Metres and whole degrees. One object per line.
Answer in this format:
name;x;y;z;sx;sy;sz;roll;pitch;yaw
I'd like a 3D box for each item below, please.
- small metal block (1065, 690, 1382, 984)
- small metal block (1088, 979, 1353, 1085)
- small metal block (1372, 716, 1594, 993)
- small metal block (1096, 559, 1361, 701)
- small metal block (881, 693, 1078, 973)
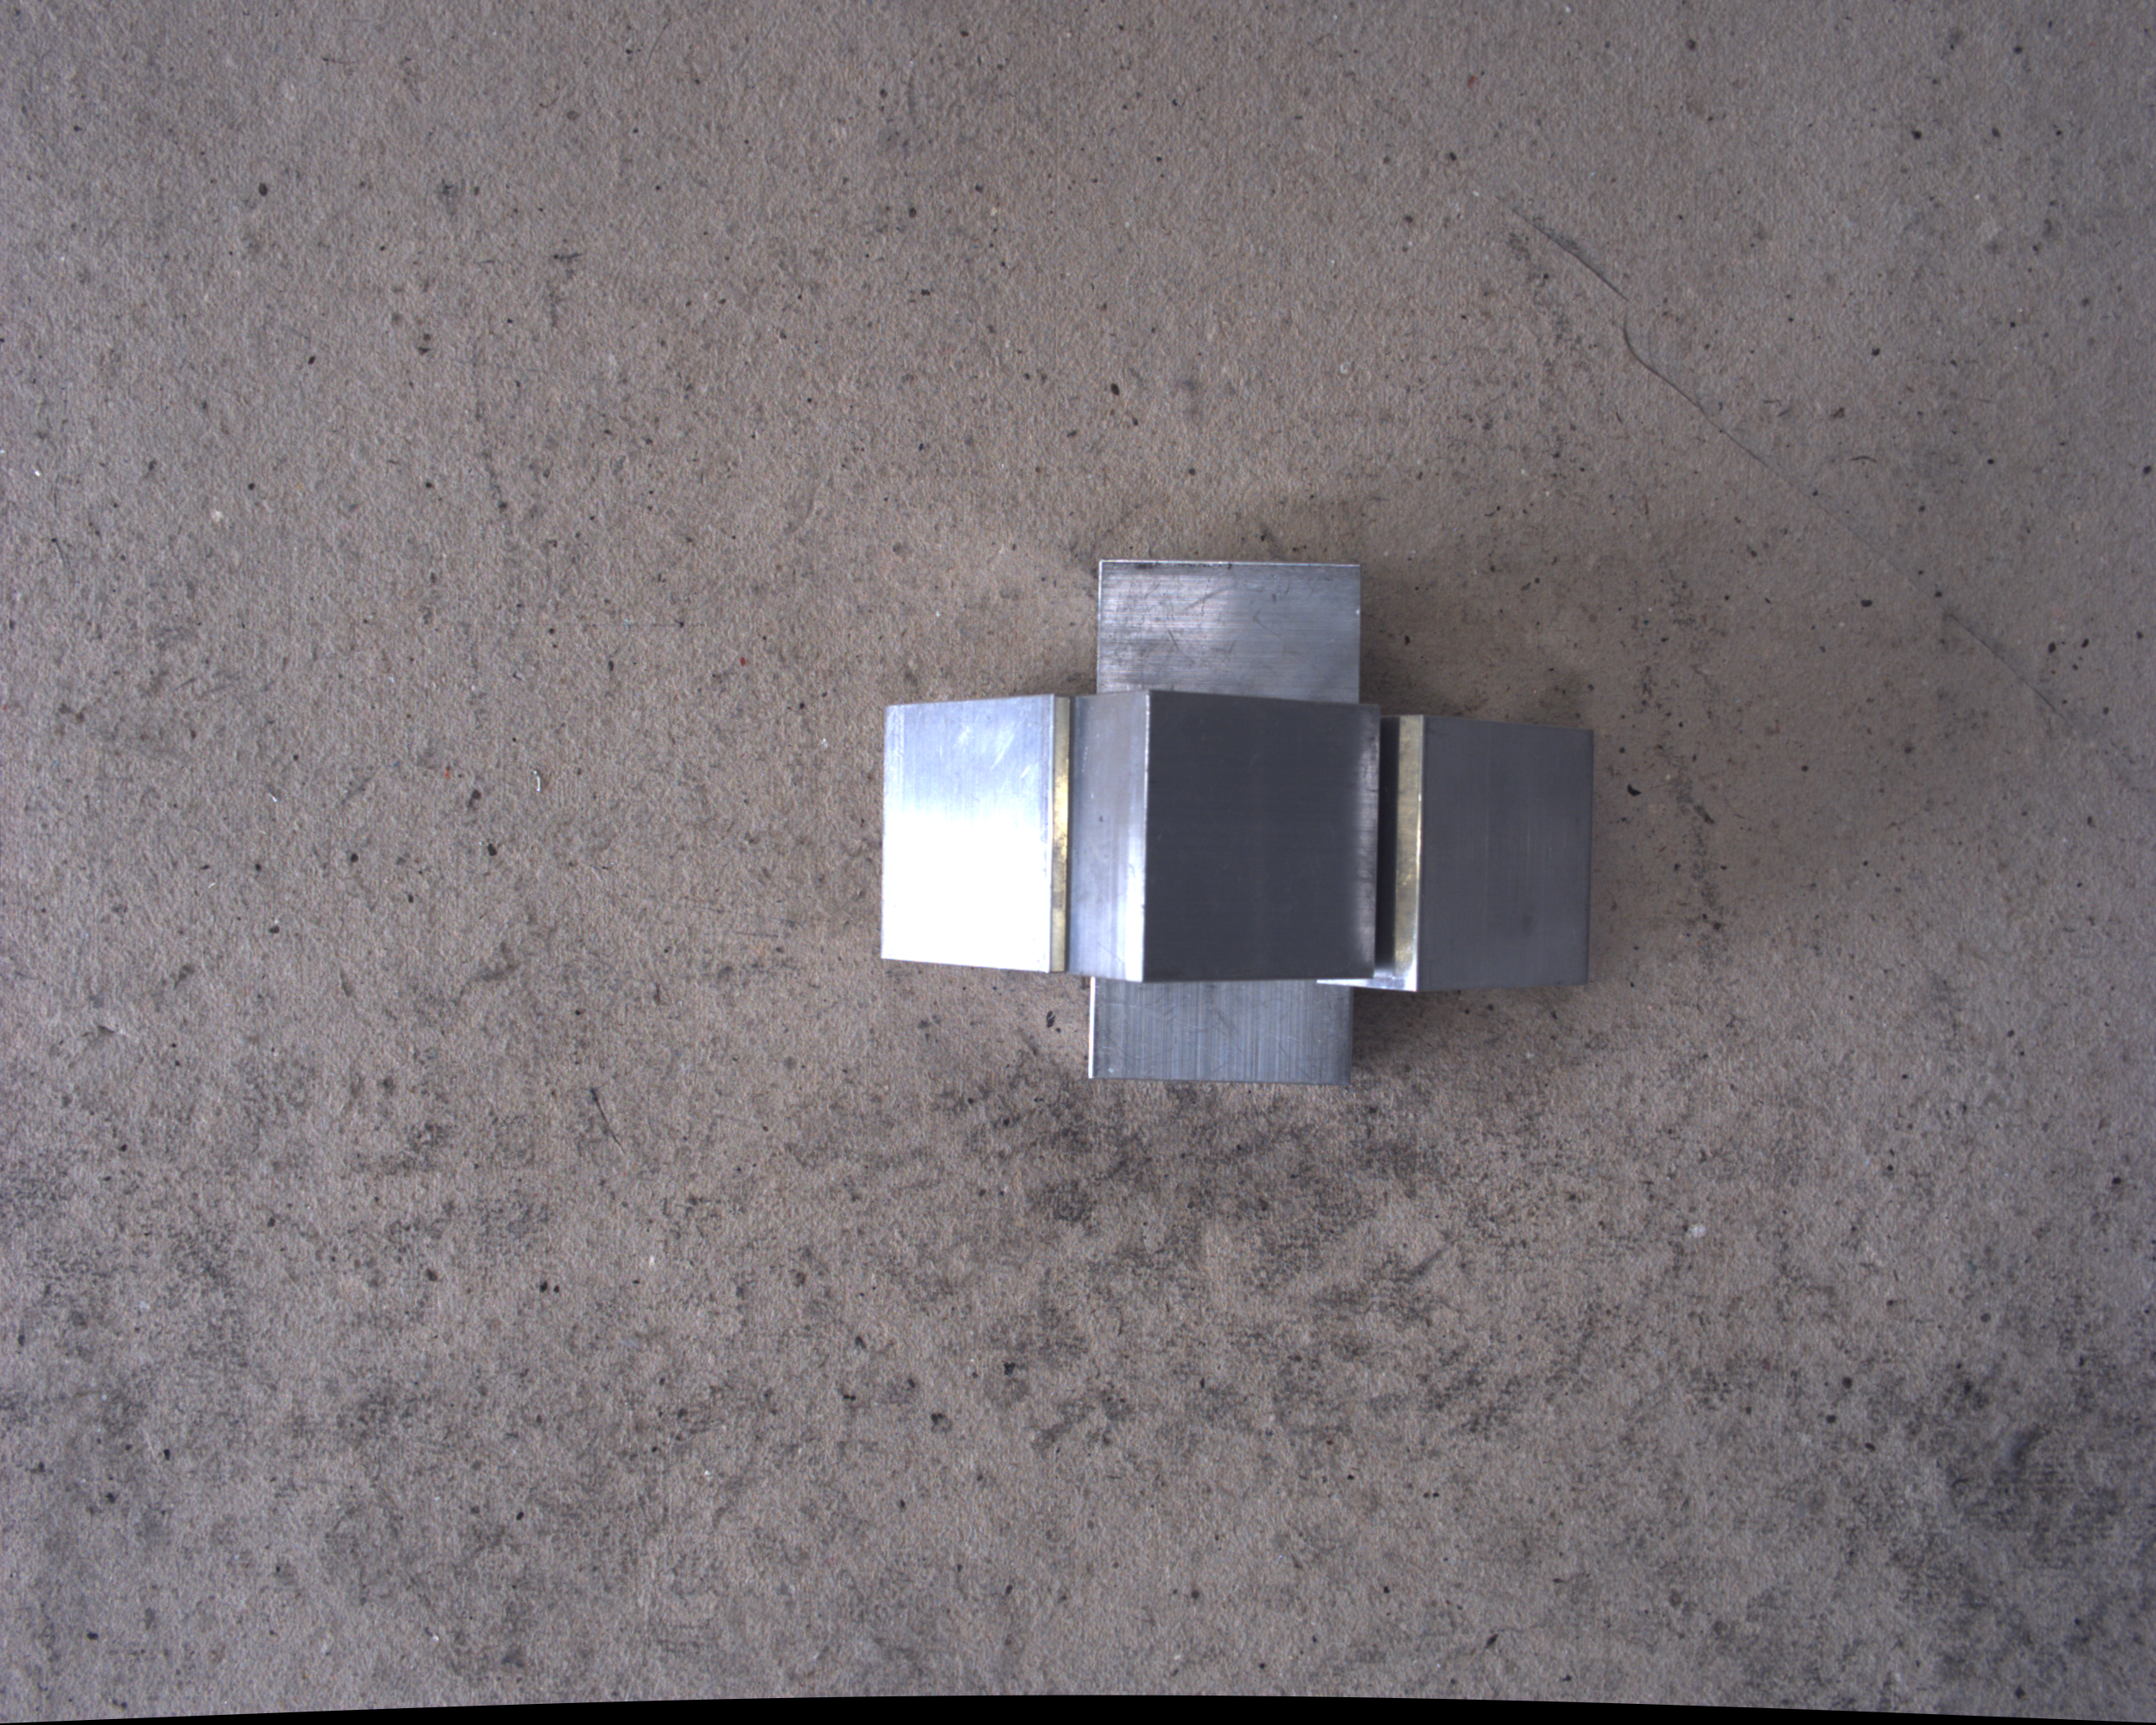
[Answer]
small metal block;0.026;-0.004;0.375;0.050;0.025;0.050;1;90;-31
small metal block;0.028;0.017;0.411;0.050;0.025;0.050;1;90;0
small metal block;0.072;-0.002;0.399;0.050;0.025;0.050;1;91;-40
small metal block;0.029;-0.033;0.411;0.050;0.025;0.050;1;90;0
small metal block;-0.012;-0.006;0.397;0.025;0.050;0.050;1;91;-42
